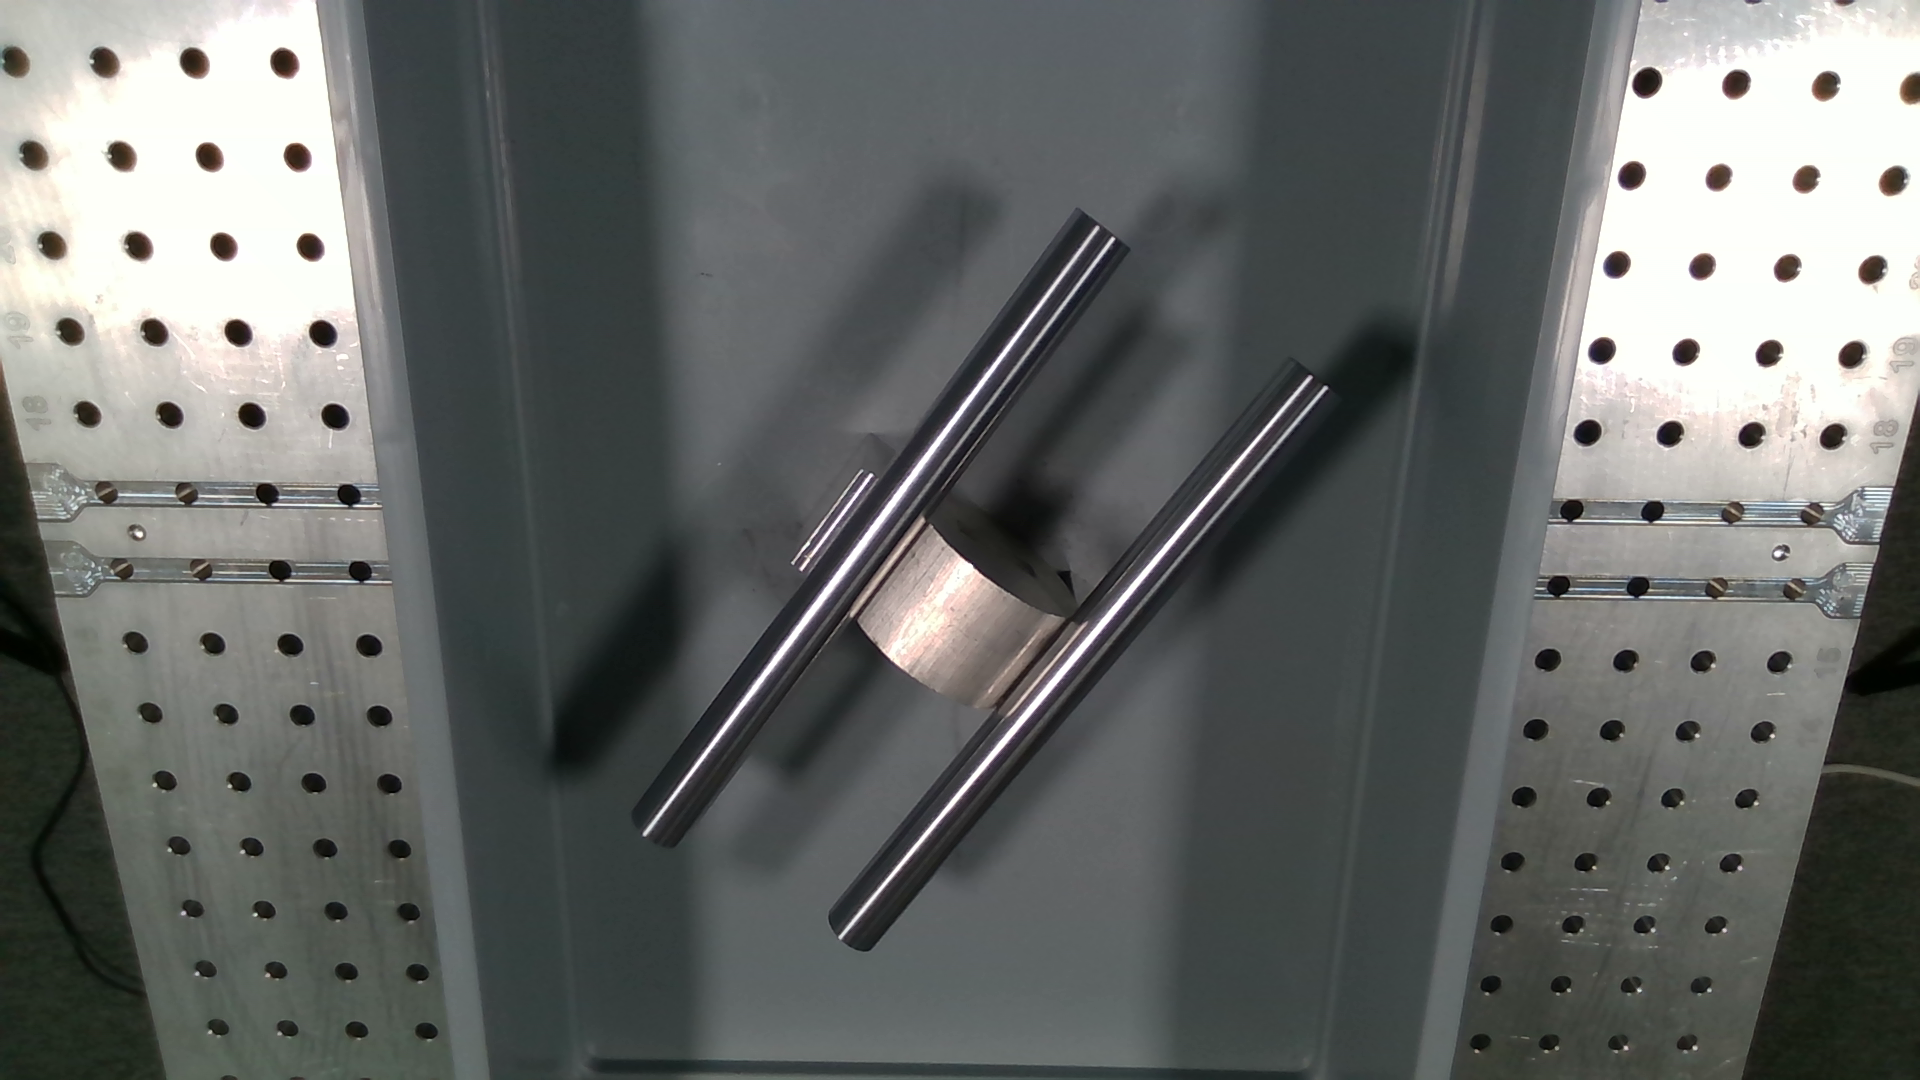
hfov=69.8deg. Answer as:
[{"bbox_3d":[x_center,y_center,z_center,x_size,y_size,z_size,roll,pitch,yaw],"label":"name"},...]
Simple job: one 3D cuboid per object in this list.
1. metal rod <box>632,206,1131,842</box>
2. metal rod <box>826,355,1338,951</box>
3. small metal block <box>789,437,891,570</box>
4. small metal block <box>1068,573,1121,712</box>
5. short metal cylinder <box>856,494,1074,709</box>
[{"bbox_3d":[-0.037,0.003,0.533,0.025,0.025,0.300,34,106,-12],"label":"metal rod"},{"bbox_3d":[0.041,0.053,0.550,0.025,0.025,0.300,34,107,-12],"label":"metal rod"},{"bbox_3d":[-0.043,-0.011,0.566,0.025,0.050,0.050,35,106,-12],"label":"small metal block"},{"bbox_3d":[0.043,0.048,0.587,0.025,0.050,0.050,35,106,-12],"label":"small metal block"},{"bbox_3d":[0.000,0.023,0.563,0.080,0.080,0.050,35,106,-12],"label":"short metal cylinder"}]
